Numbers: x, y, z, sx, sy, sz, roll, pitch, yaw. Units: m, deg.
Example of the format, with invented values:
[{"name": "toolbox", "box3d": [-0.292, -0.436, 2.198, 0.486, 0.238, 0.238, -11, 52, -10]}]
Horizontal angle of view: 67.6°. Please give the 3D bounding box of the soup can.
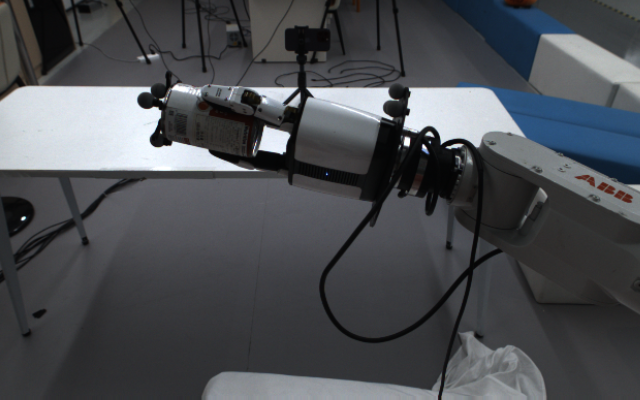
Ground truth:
[{"name": "soup can", "box3d": [-0.116, -0.089, 0.548, 0.101, 0.067, 0.067, 12, 35, -2]}]
